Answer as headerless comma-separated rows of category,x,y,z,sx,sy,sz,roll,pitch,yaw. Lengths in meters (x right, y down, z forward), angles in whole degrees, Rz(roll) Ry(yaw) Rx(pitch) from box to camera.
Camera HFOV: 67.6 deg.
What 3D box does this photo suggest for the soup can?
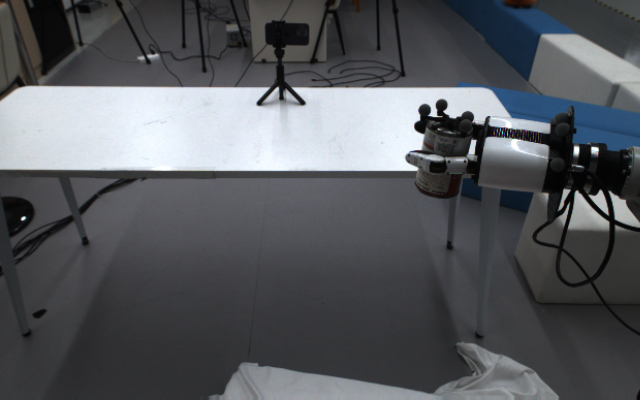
soup can,0.182,-0.063,0.713,0.067,0.101,0.067,3,30,-2
